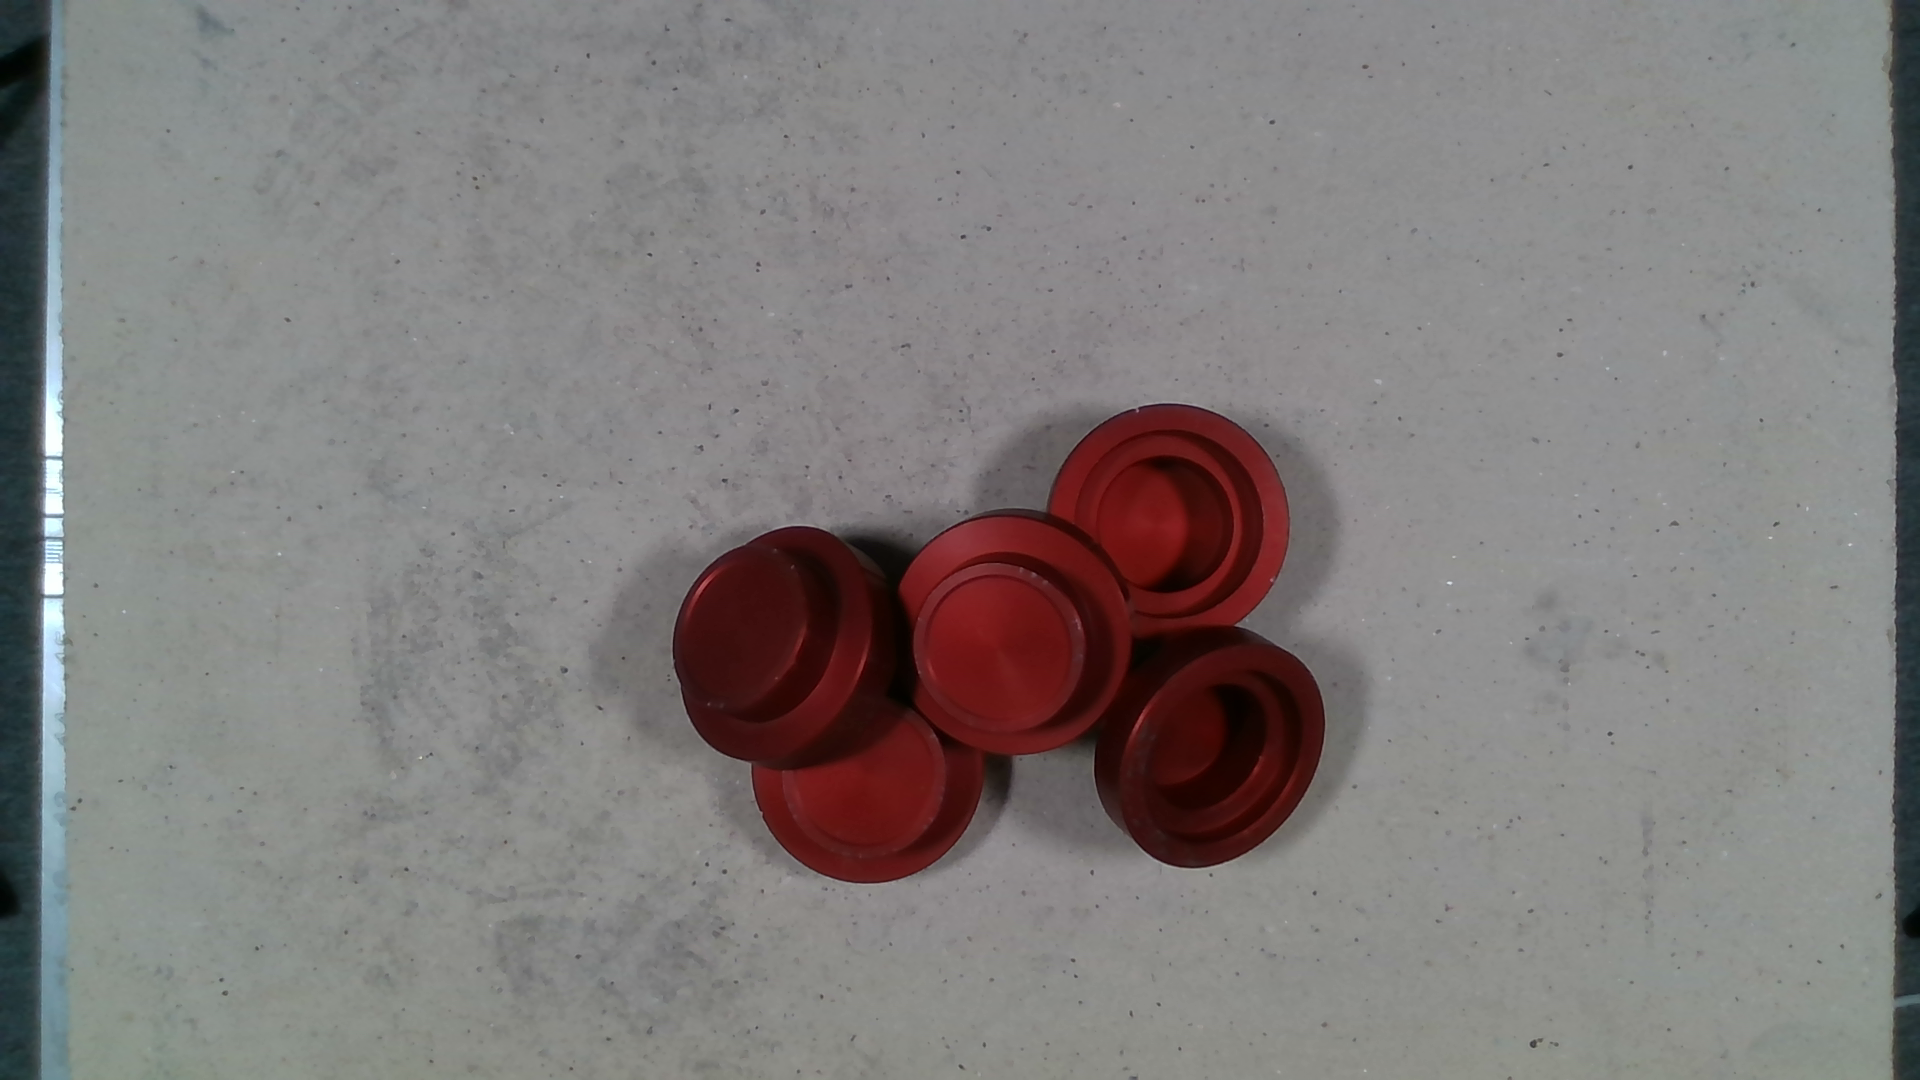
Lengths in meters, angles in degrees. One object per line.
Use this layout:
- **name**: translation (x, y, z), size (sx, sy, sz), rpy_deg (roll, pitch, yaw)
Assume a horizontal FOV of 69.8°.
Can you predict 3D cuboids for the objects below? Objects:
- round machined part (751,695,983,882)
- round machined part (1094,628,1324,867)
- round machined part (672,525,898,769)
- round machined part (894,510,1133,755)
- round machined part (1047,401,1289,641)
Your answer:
- **round machined part**: translation (-0.039, 0.096, 0.579), size (0.098, 0.042, 0.098), rpy_deg (0, 90, 0)
- **round machined part**: translation (0.097, 0.080, 0.566), size (0.098, 0.042, 0.098), rpy_deg (-9, 111, -24)
- **round machined part**: translation (-0.077, 0.040, 0.554), size (0.098, 0.042, 0.098), rpy_deg (-13, 64, 29)
- **round machined part**: translation (0.019, 0.038, 0.546), size (0.098, 0.042, 0.098), rpy_deg (2, 99, 10)
- **round machined part**: translation (0.085, -0.007, 0.579), size (0.098, 0.042, 0.098), rpy_deg (0, 90, 0)
